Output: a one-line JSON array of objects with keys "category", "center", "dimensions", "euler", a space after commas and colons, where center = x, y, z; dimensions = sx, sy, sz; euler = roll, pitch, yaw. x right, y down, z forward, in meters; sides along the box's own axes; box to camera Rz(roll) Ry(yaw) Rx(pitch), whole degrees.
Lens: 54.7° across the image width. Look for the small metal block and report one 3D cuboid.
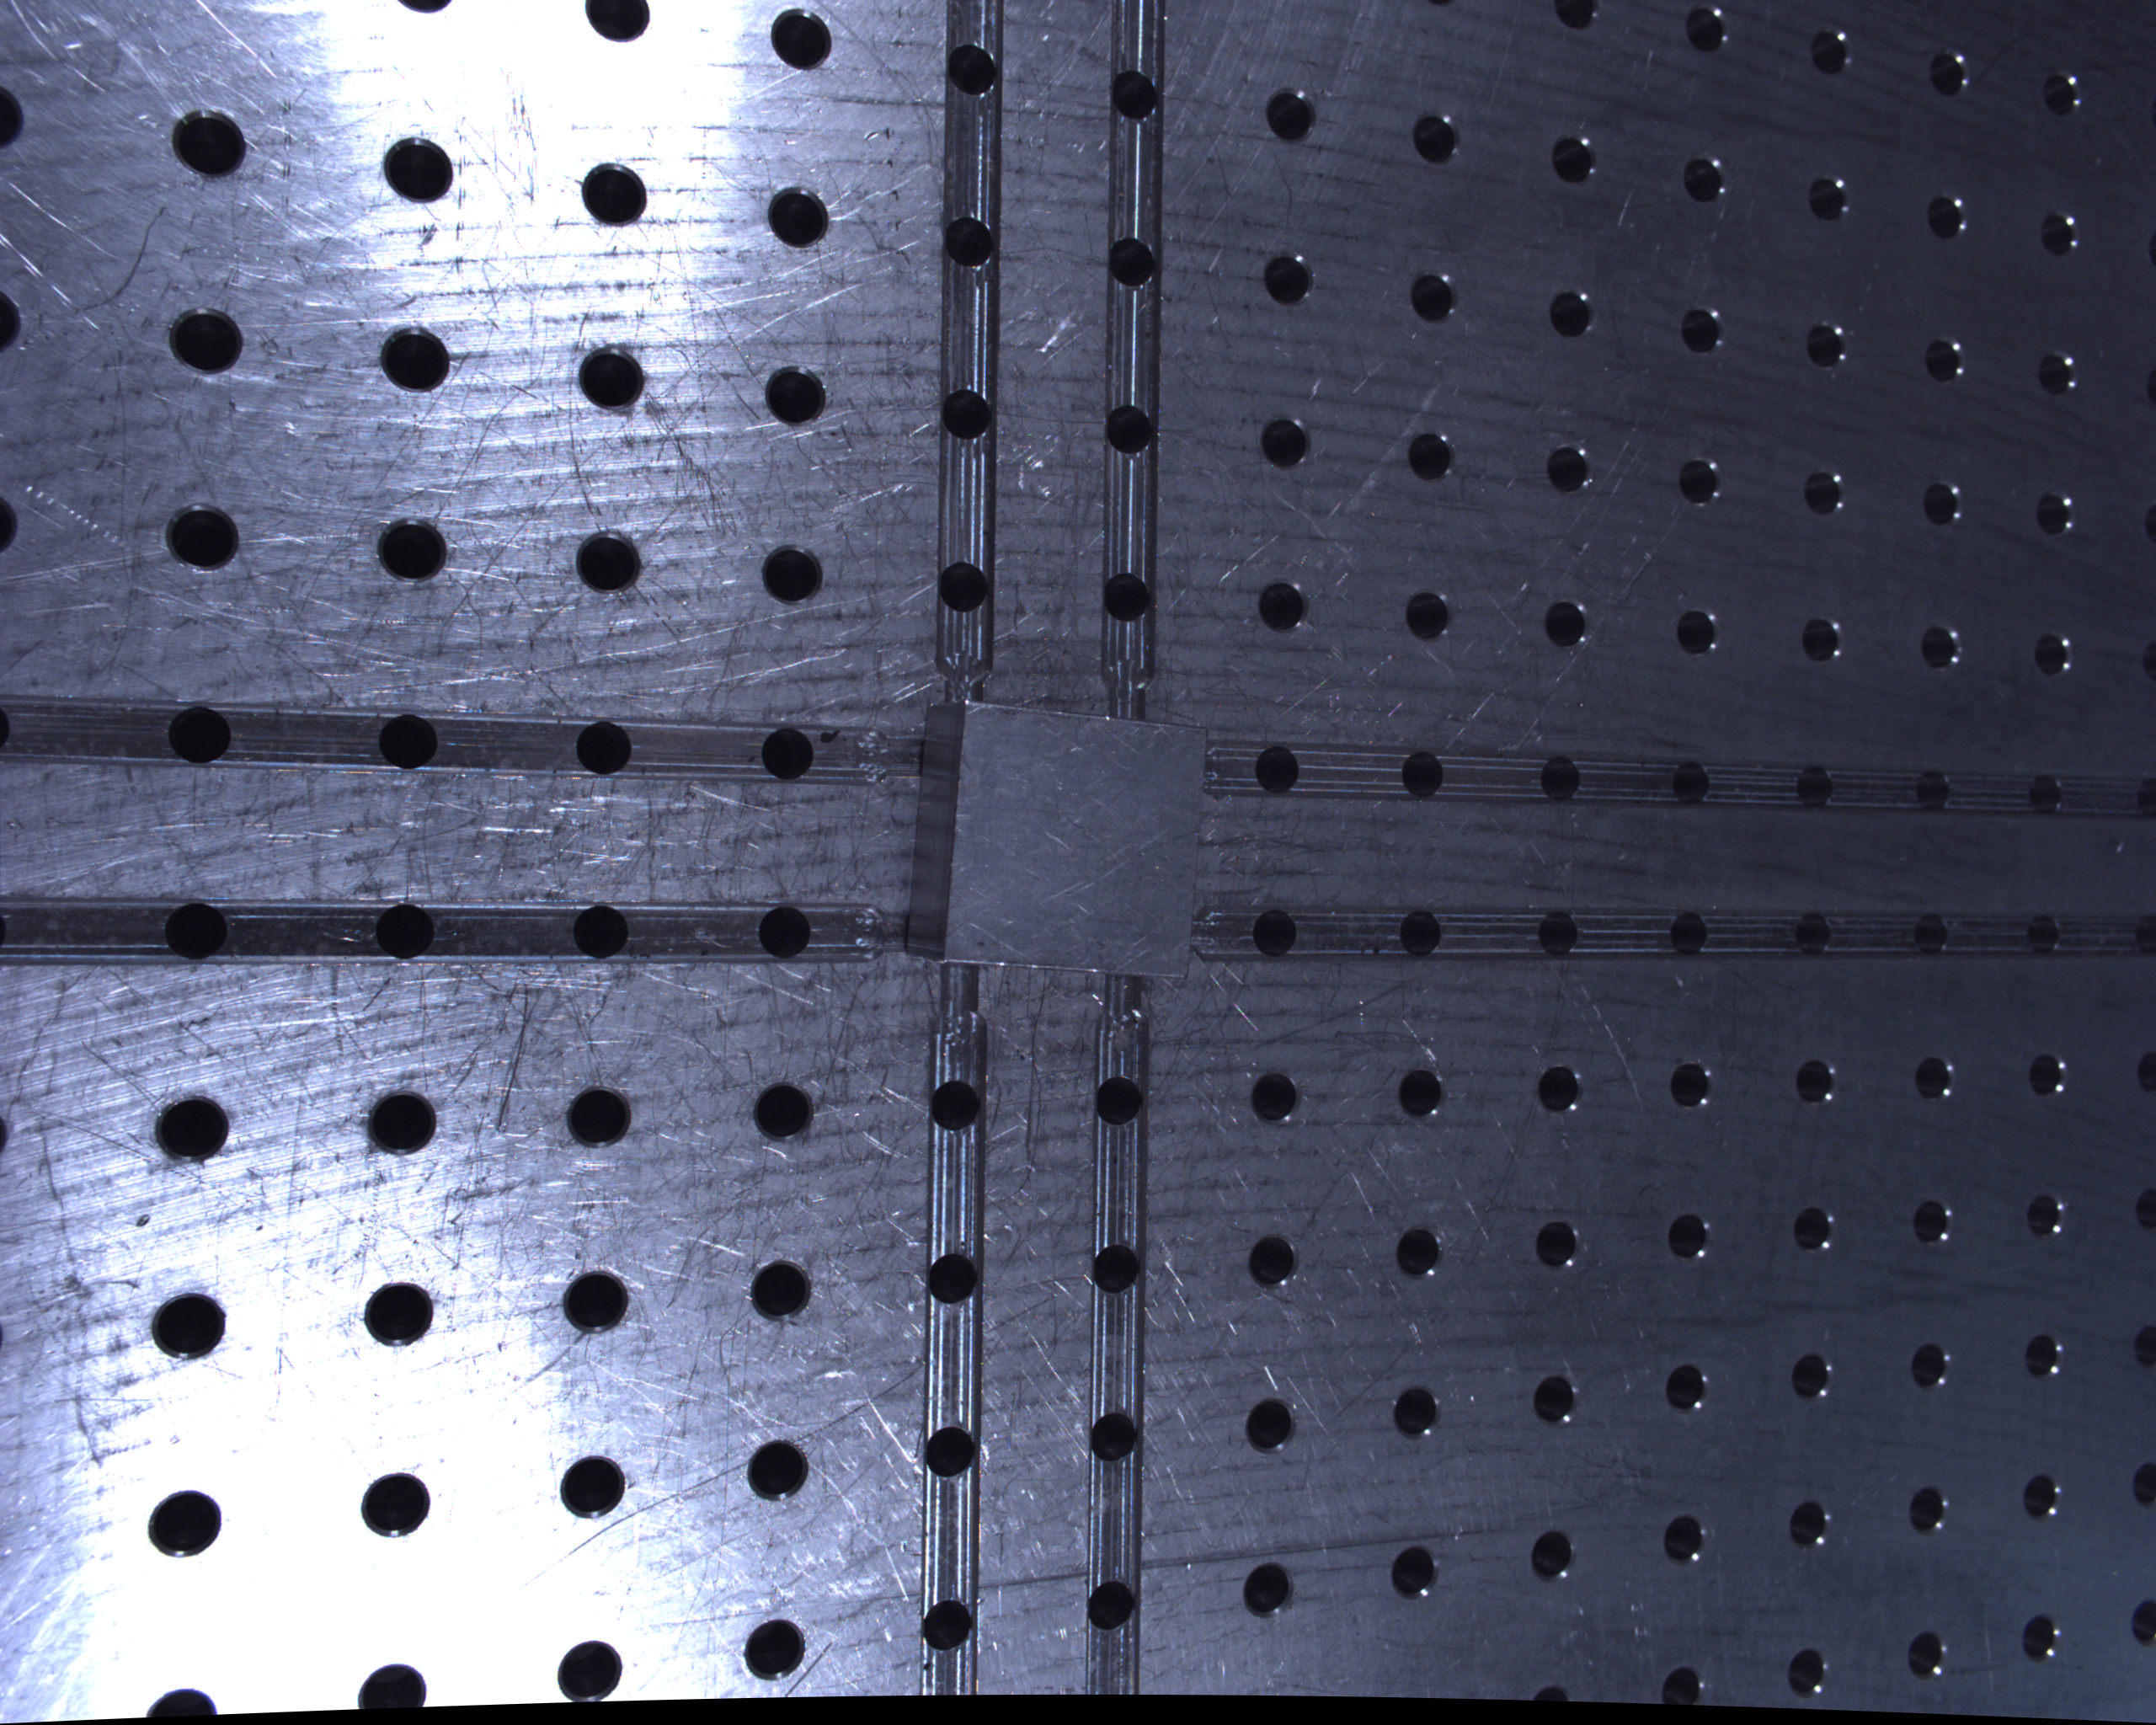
[{"category": "small metal block", "center": [-0.004, -0.004, 0.412], "dimensions": [0.050, 0.025, 0.050], "euler": [5, 88, -20]}]
